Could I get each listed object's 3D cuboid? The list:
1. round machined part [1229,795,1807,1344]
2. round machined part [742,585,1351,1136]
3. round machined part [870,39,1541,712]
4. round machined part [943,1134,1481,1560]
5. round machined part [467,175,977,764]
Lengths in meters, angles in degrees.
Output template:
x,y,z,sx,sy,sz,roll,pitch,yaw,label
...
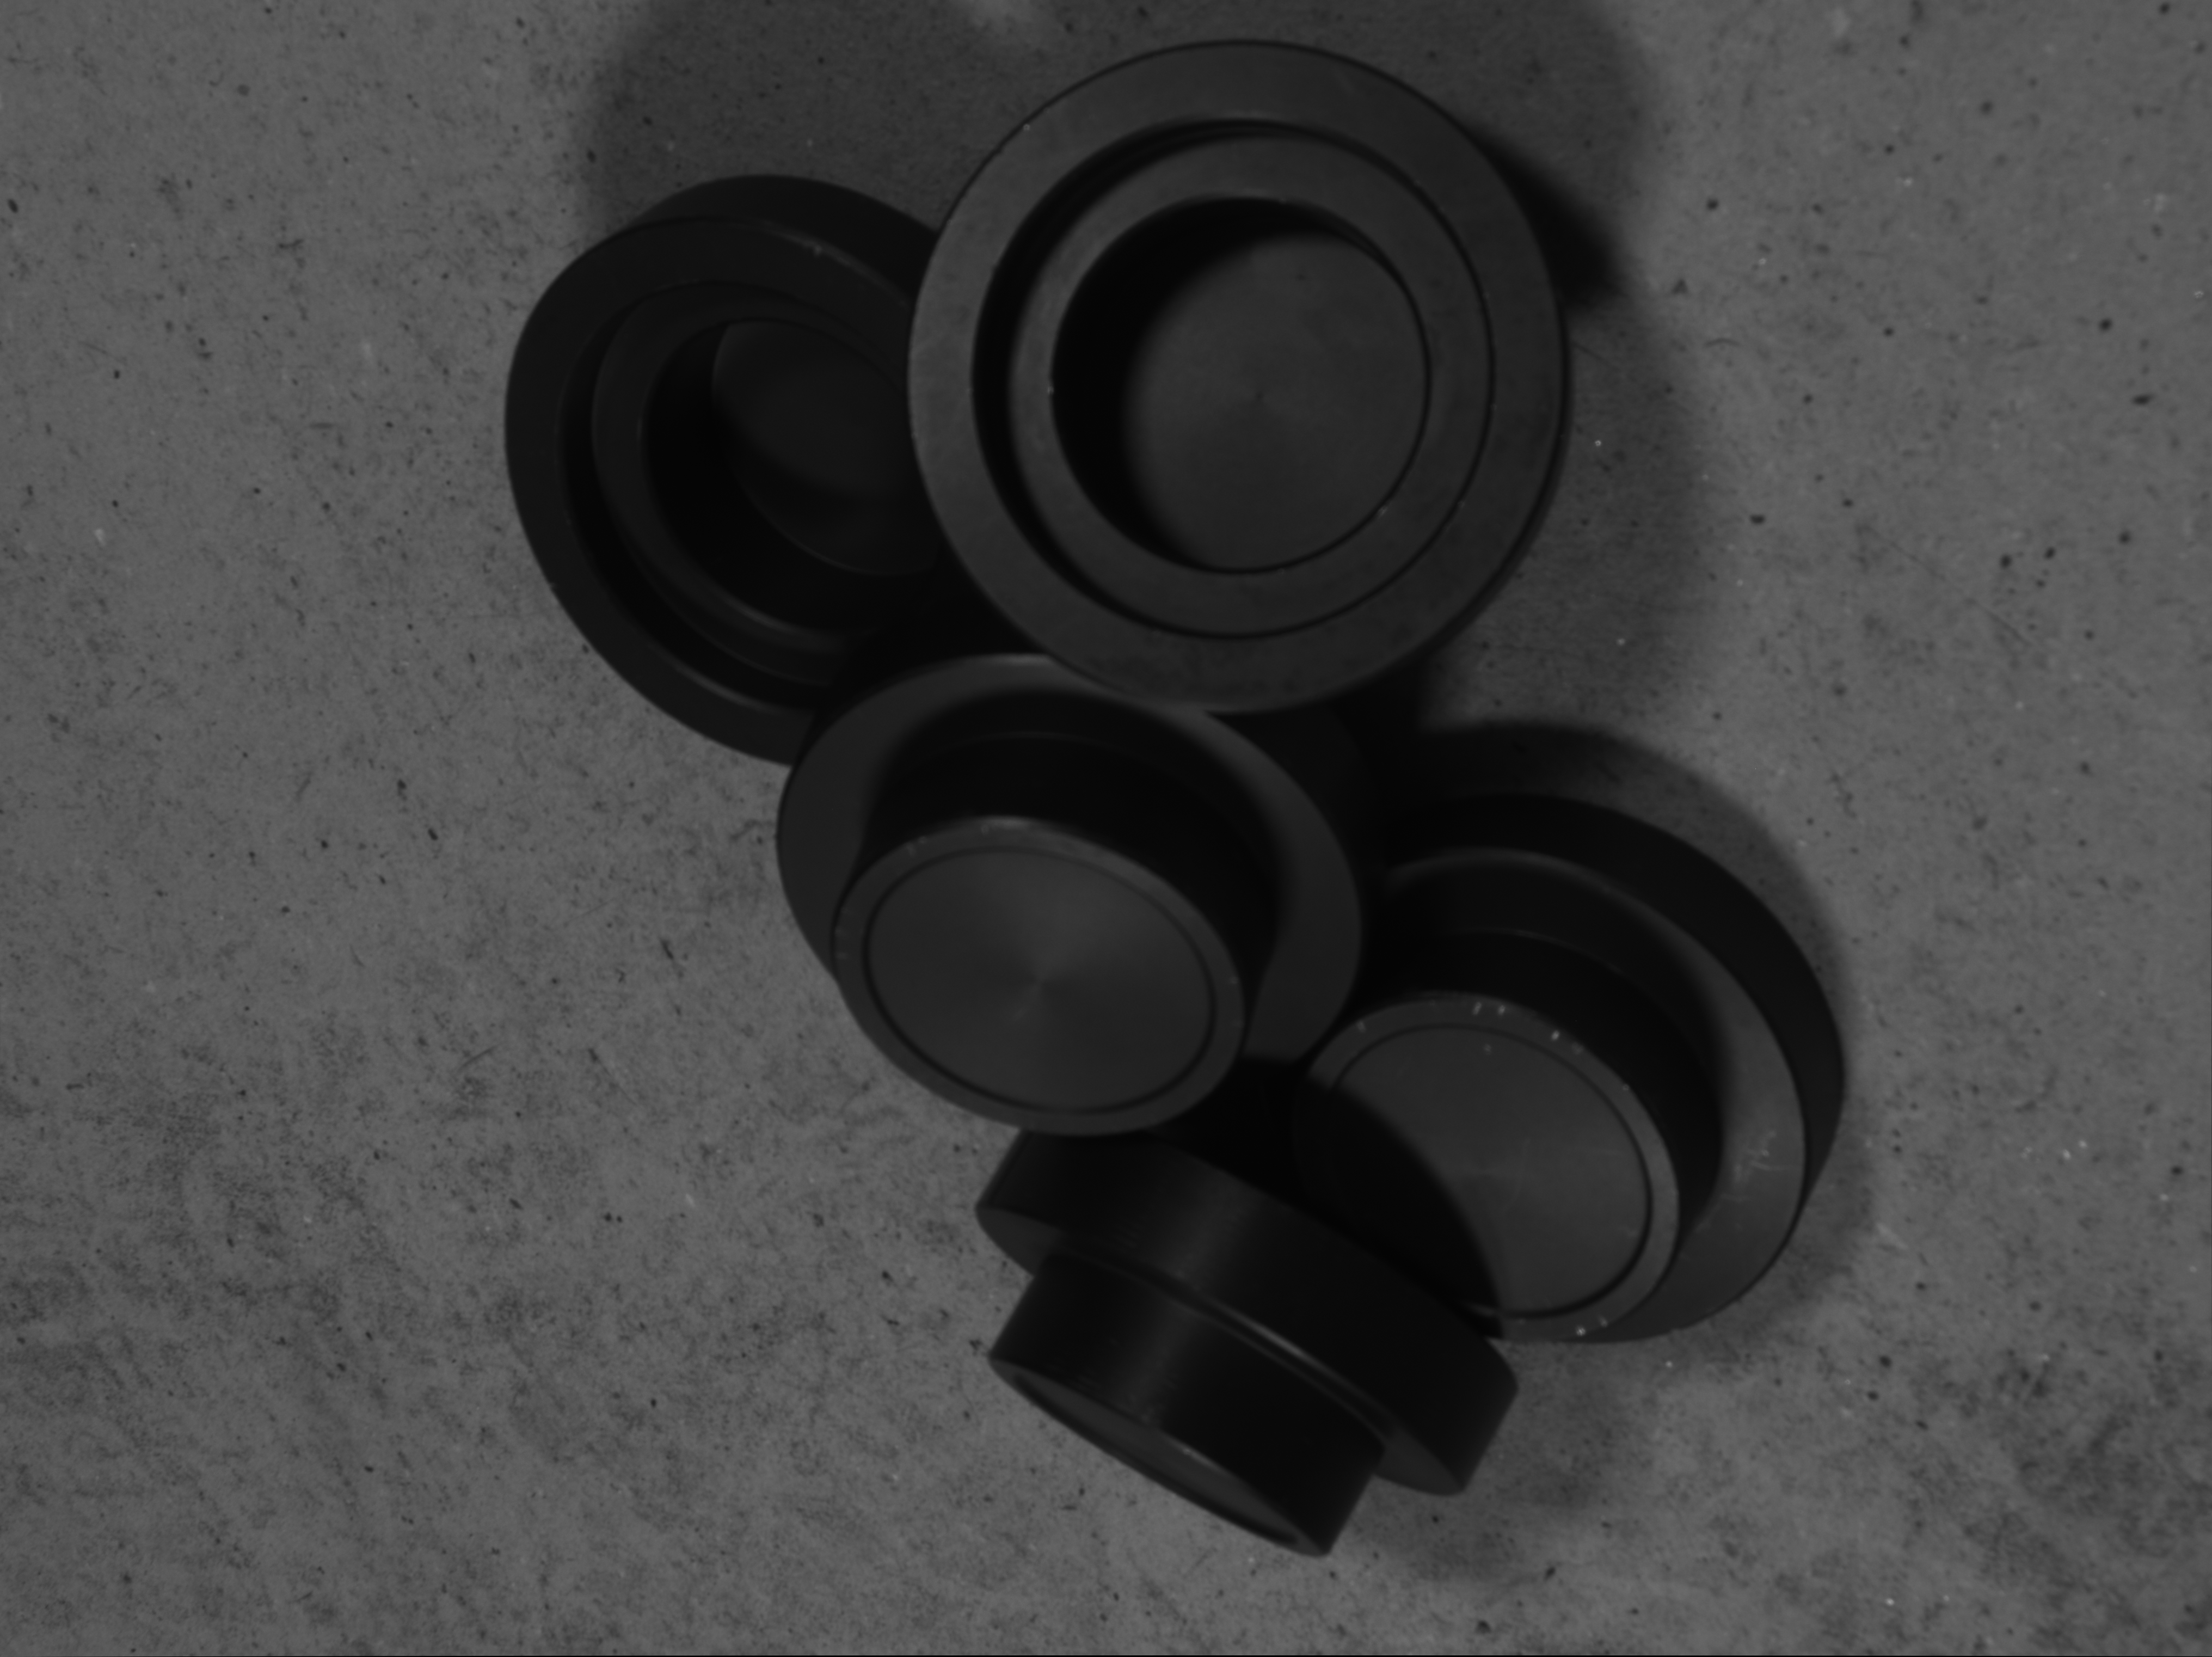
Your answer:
x,y,z,sx,sy,sz,roll,pitch,yaw,label
0.065,0.047,0.616,0.098,0.042,0.098,12,123,20,round machined part
-0.012,0.011,0.591,0.098,0.042,0.098,8,130,10,round machined part
0.017,-0.067,0.554,0.098,0.042,0.098,0,92,9,round machined part
0.013,0.092,0.637,0.098,0.042,0.098,29,166,8,round machined part
-0.054,-0.062,0.610,0.098,0.042,0.098,12,123,20,round machined part
